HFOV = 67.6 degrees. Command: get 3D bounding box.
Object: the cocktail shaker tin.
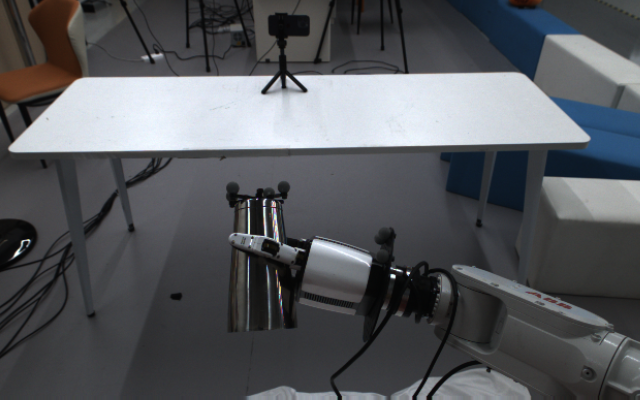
[{"bbox_3d":[-0.081,0.089,0.653,0.093,0.093,0.170,-3,76,-7],"label":"cocktail shaker tin"}]
